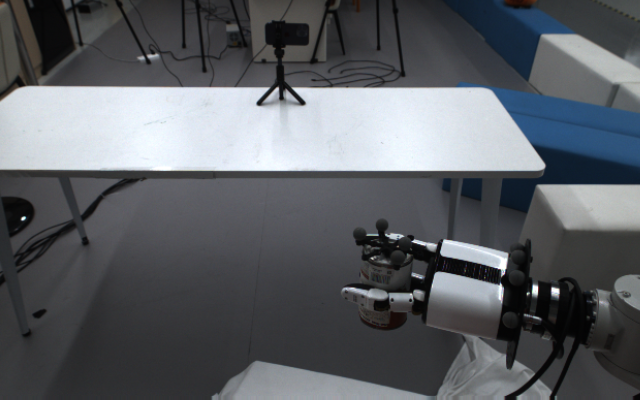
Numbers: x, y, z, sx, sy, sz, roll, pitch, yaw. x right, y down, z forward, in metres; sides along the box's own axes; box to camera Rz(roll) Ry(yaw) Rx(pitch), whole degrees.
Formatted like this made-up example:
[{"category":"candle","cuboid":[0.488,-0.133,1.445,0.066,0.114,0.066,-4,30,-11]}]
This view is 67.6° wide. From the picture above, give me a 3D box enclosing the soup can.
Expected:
[{"category":"soup can","cuboid":[0.088,0.110,0.639,0.067,0.101,0.067,1,25,0]}]
